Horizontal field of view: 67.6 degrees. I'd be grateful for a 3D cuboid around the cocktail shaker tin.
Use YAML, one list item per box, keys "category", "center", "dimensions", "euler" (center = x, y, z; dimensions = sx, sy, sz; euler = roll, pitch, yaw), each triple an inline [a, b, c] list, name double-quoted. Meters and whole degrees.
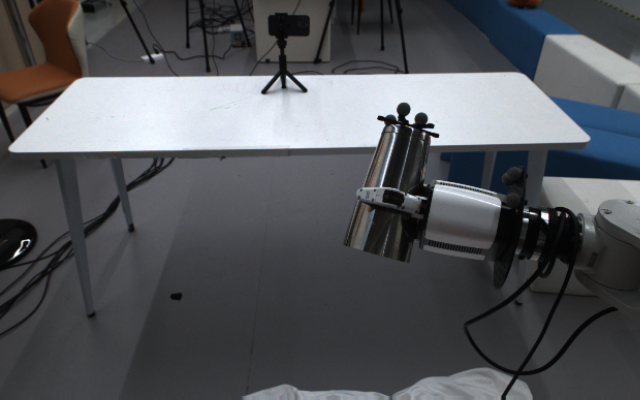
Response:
- category: "cocktail shaker tin"
  center: [0.097, -0.010, 0.651]
  dimensions: [0.093, 0.170, 0.093]
  euler: [16, -4, 1]
